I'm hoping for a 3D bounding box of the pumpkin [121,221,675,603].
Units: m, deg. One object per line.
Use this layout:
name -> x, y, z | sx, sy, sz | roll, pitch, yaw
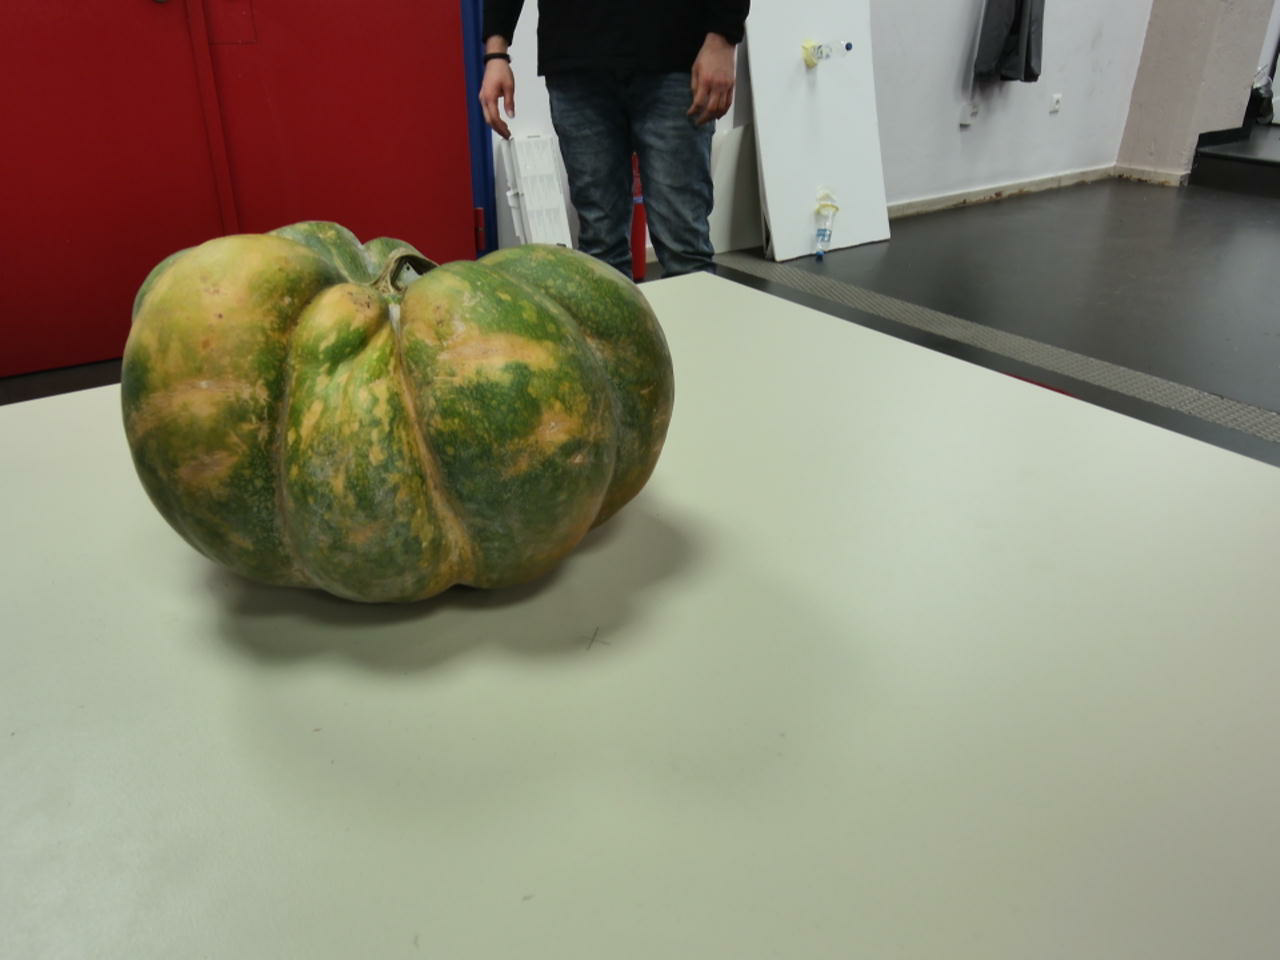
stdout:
pumpkin -> -0.119, -0.044, 0.491 | 0.270, 0.173, 0.237 | 0, 25, 0
